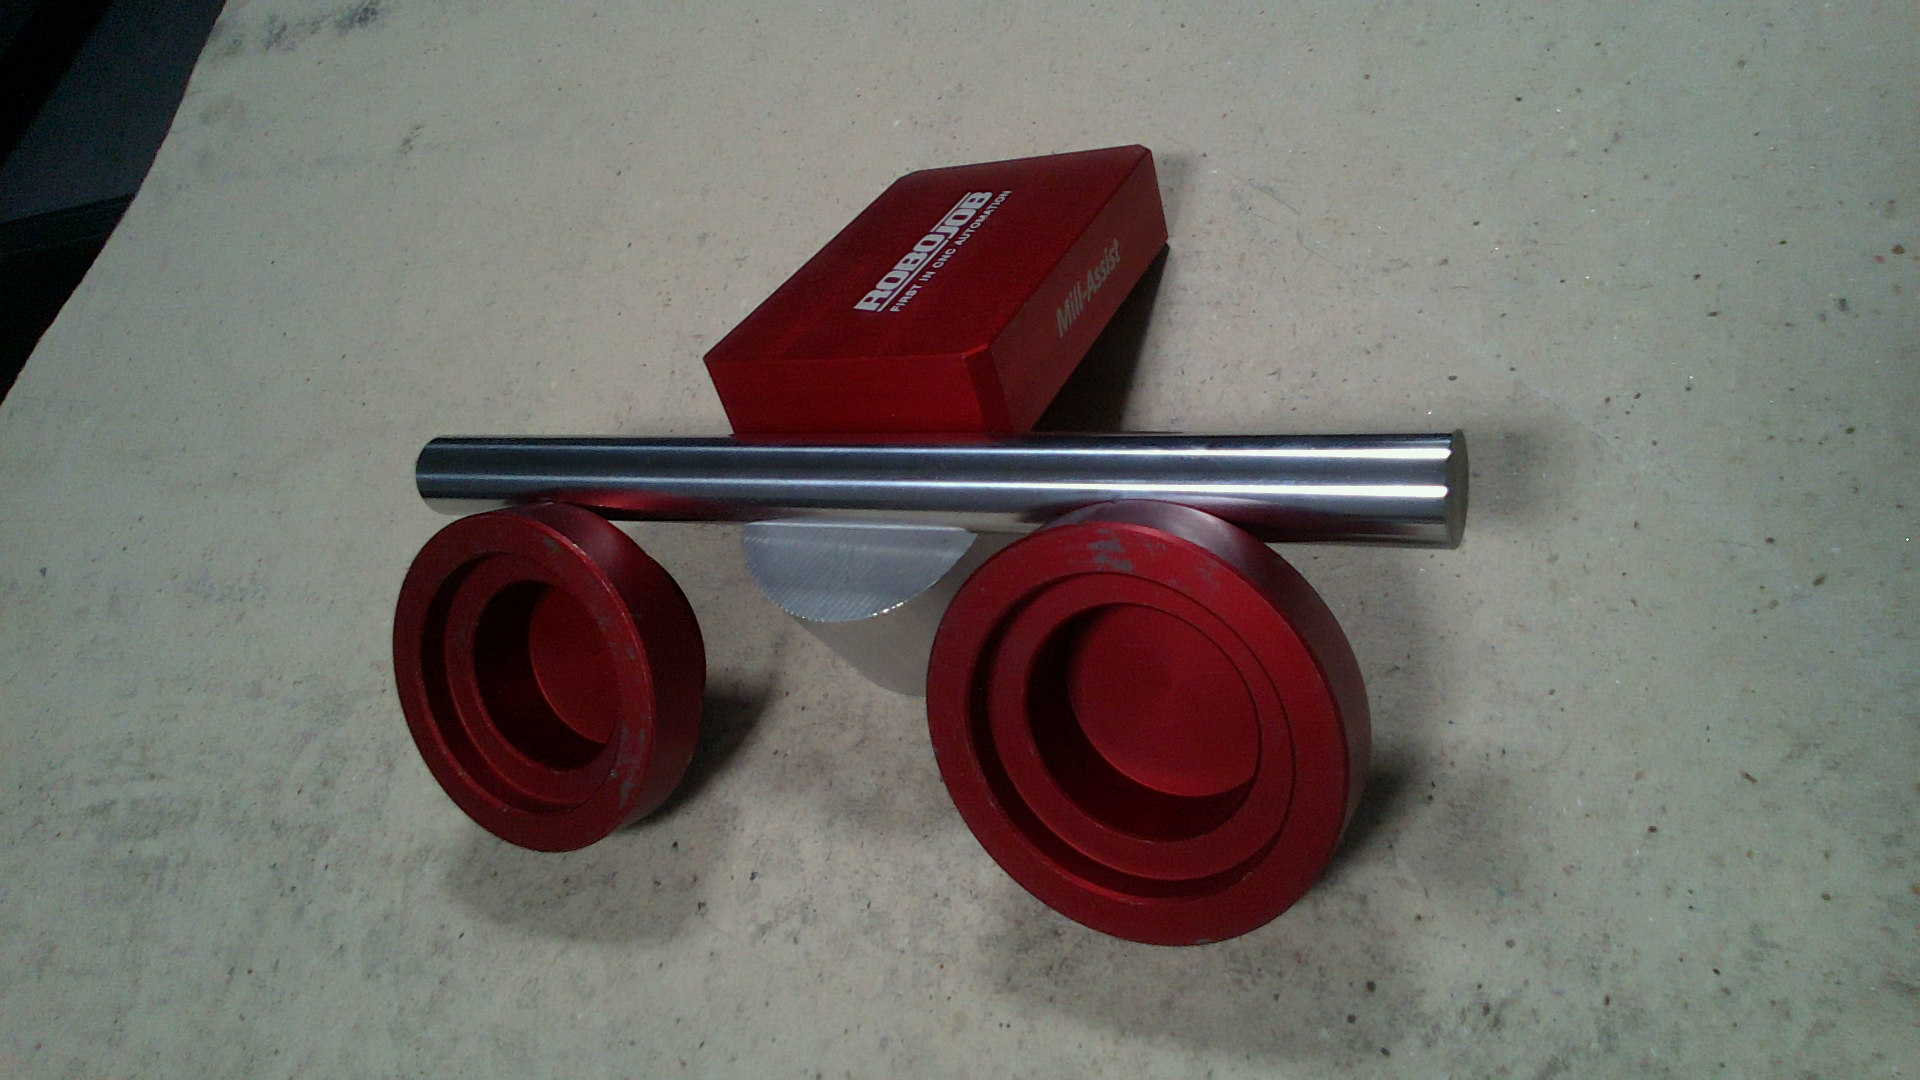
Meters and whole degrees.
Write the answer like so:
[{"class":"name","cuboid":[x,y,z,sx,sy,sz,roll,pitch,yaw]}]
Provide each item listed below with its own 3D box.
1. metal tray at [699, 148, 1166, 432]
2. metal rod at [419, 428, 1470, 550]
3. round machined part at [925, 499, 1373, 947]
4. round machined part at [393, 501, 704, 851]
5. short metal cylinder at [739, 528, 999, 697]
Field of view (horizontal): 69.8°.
[{"class":"metal tray","cuboid":[-0.003,-0.073,0.403,0.090,0.030,0.130,2,36,29]},{"class":"metal rod","cuboid":[-0.028,-0.015,0.355,0.299,0.025,0.025,2,63,29]},{"class":"round machined part","cuboid":[0.044,0.038,0.313,0.098,0.042,0.098,8,108,27]},{"class":"round machined part","cuboid":[-0.115,0.037,0.402,0.098,0.042,0.098,6,102,27]},{"class":"short metal cylinder","cuboid":[-0.014,-0.003,0.388,0.080,0.050,0.080,-14,56,21]}]
